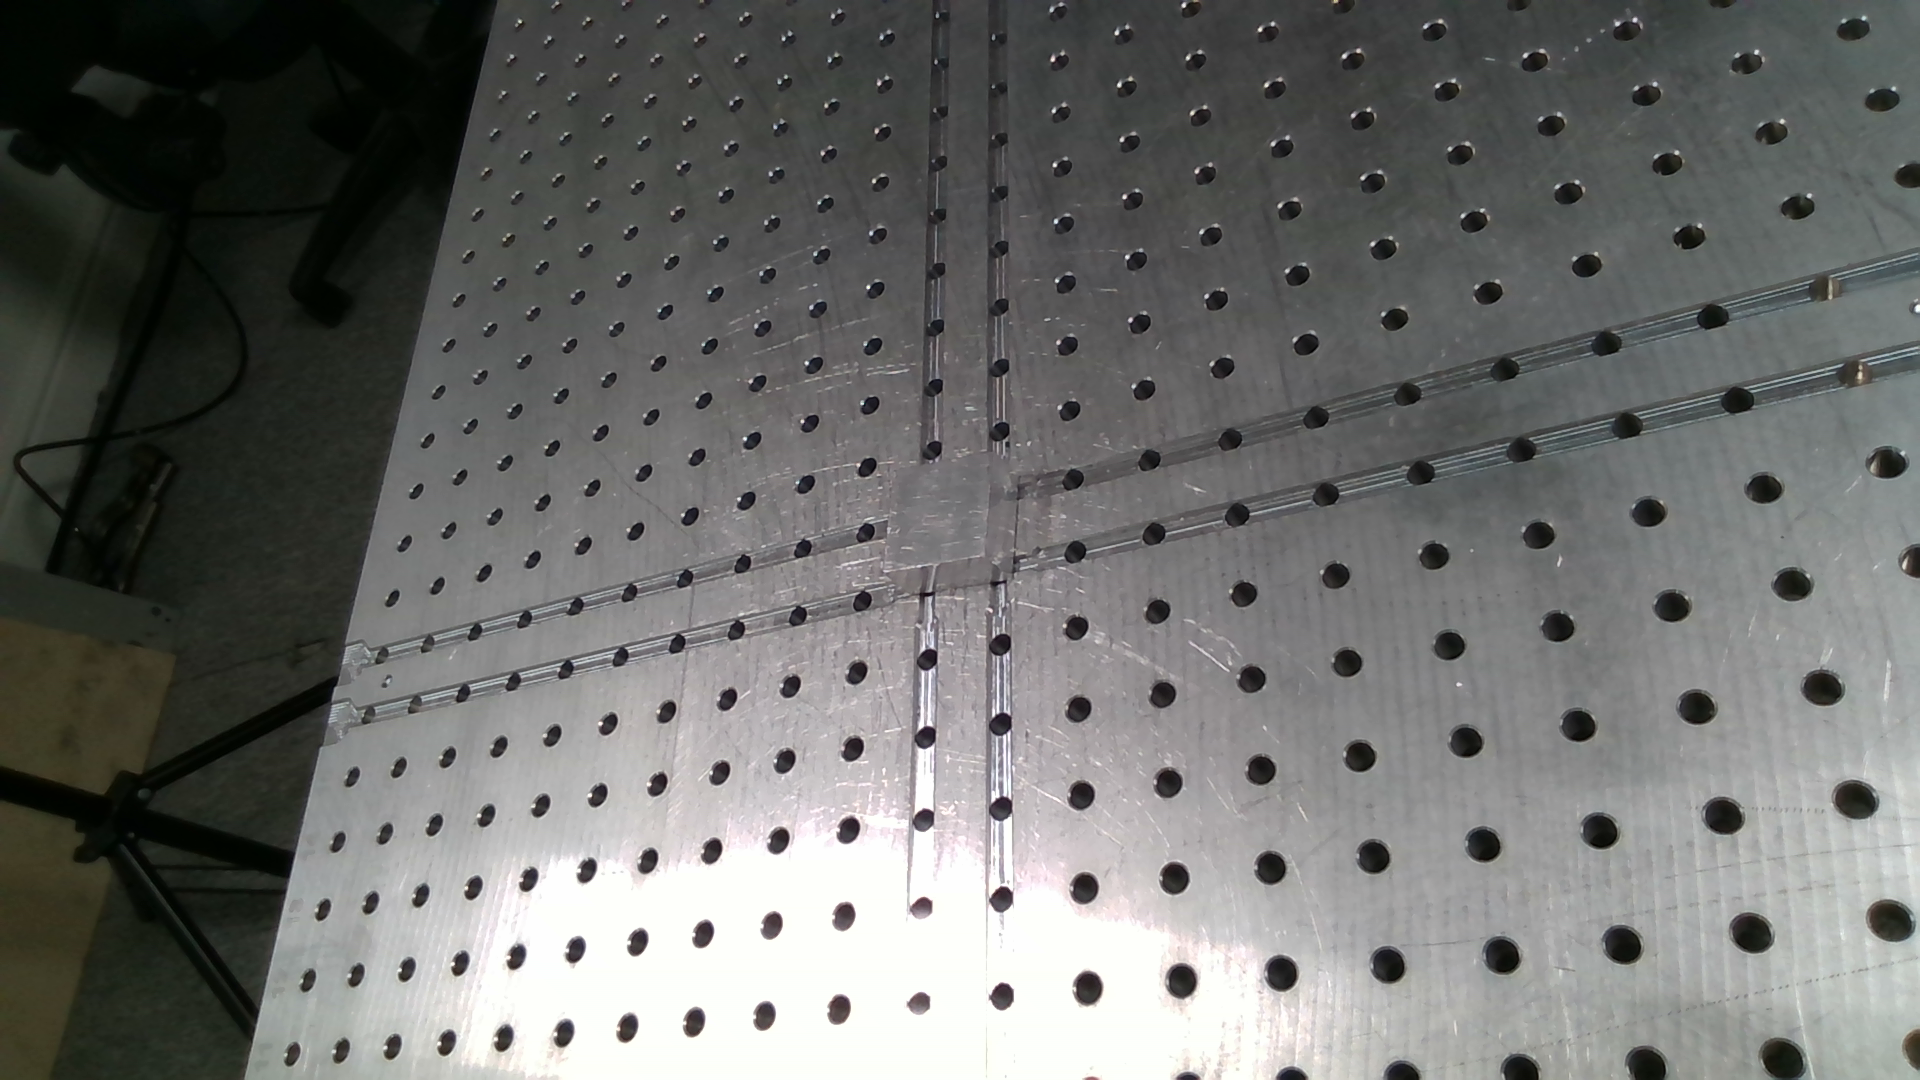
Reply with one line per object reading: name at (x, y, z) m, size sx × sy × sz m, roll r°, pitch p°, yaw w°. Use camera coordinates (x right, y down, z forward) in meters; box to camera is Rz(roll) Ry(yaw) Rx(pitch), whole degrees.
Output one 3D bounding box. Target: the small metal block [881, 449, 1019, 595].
small metal block at (-0.004, -0.007, 0.594) m, size 0.050 × 0.025 × 0.050 m, roll -10°, pitch 61°, yaw 27°
